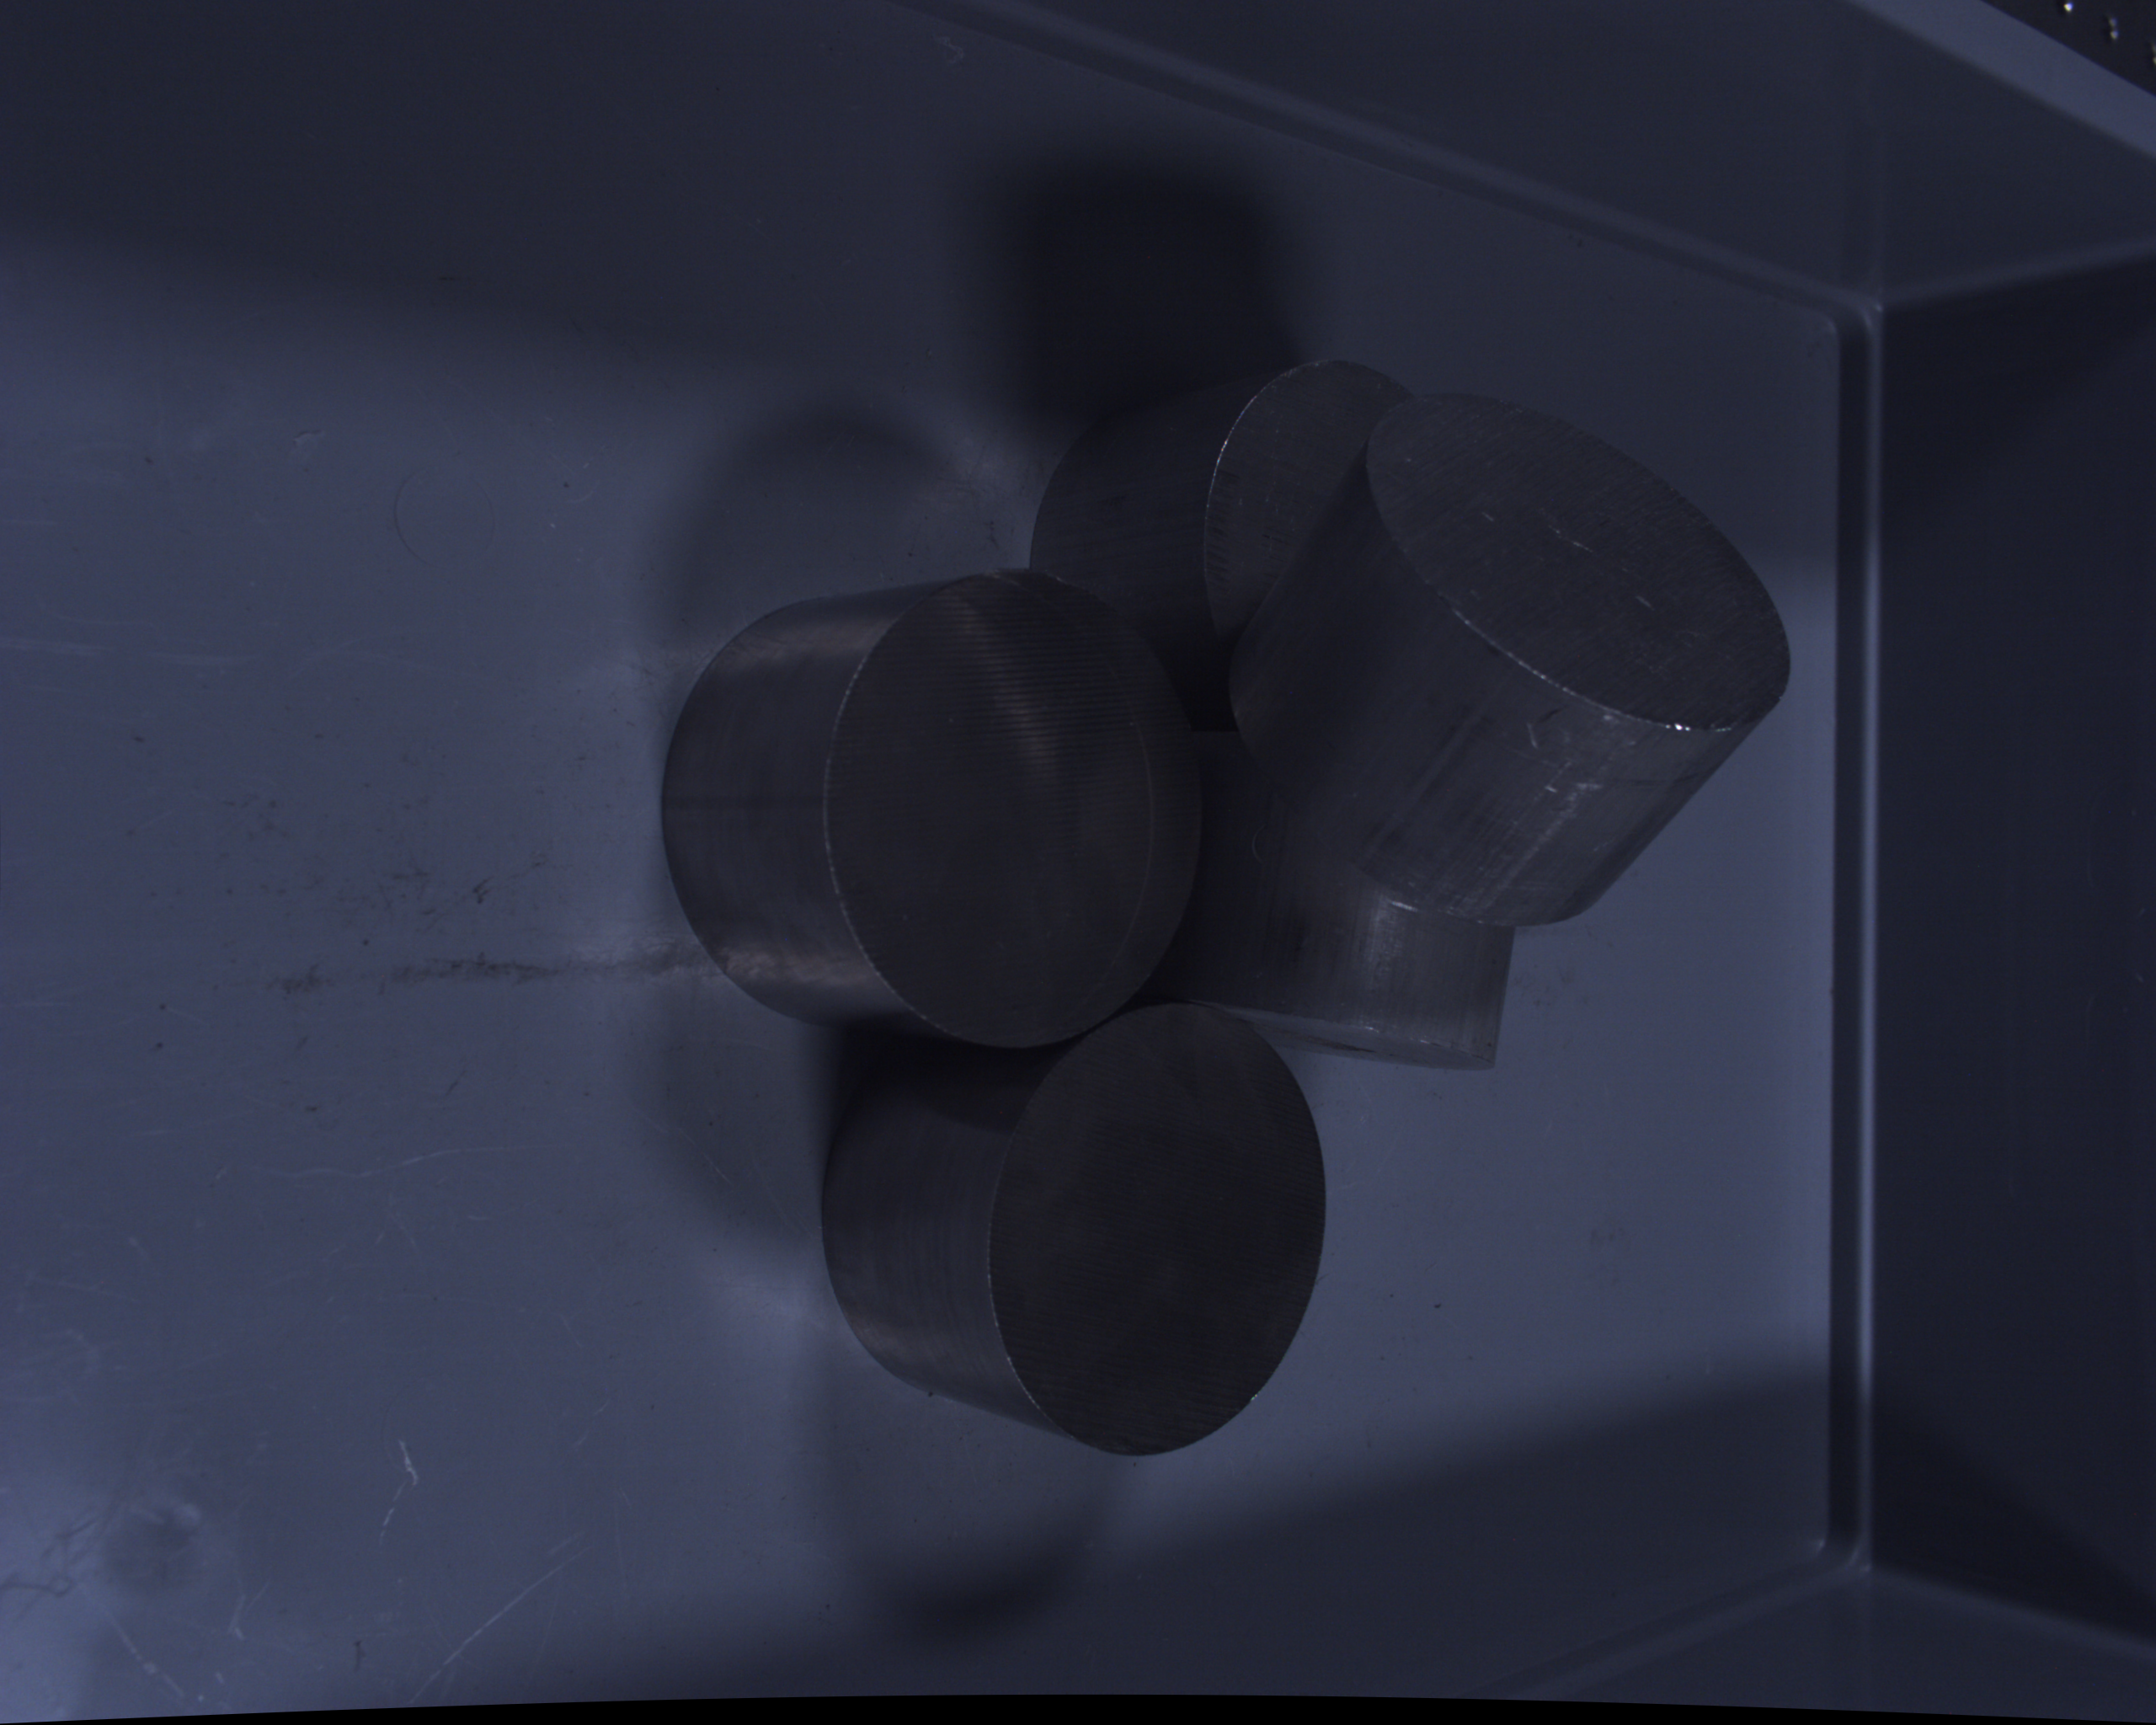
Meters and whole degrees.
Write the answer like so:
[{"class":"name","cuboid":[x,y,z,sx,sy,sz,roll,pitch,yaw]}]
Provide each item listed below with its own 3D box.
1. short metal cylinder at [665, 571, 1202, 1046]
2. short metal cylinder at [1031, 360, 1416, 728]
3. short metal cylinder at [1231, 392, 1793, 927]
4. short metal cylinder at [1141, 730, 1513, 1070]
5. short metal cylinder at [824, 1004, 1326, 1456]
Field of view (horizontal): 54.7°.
[{"class":"short metal cylinder","cuboid":[-0.025,-0.009,0.369,0.081,0.050,0.079,0,90,-40]},{"class":"short metal cylinder","cuboid":[0.038,-0.057,0.422,0.081,0.050,0.079,0,90,-40]},{"class":"short metal cylinder","cuboid":[0.074,-0.036,0.361,0.081,0.050,0.080,17,44,-17]},{"class":"short metal cylinder","cuboid":[0.045,0.009,0.409,0.081,0.080,0.050,17,79,-39]},{"class":"short metal cylinder","cuboid":[0.000,0.065,0.390,0.081,0.050,0.079,0,90,-40]}]
